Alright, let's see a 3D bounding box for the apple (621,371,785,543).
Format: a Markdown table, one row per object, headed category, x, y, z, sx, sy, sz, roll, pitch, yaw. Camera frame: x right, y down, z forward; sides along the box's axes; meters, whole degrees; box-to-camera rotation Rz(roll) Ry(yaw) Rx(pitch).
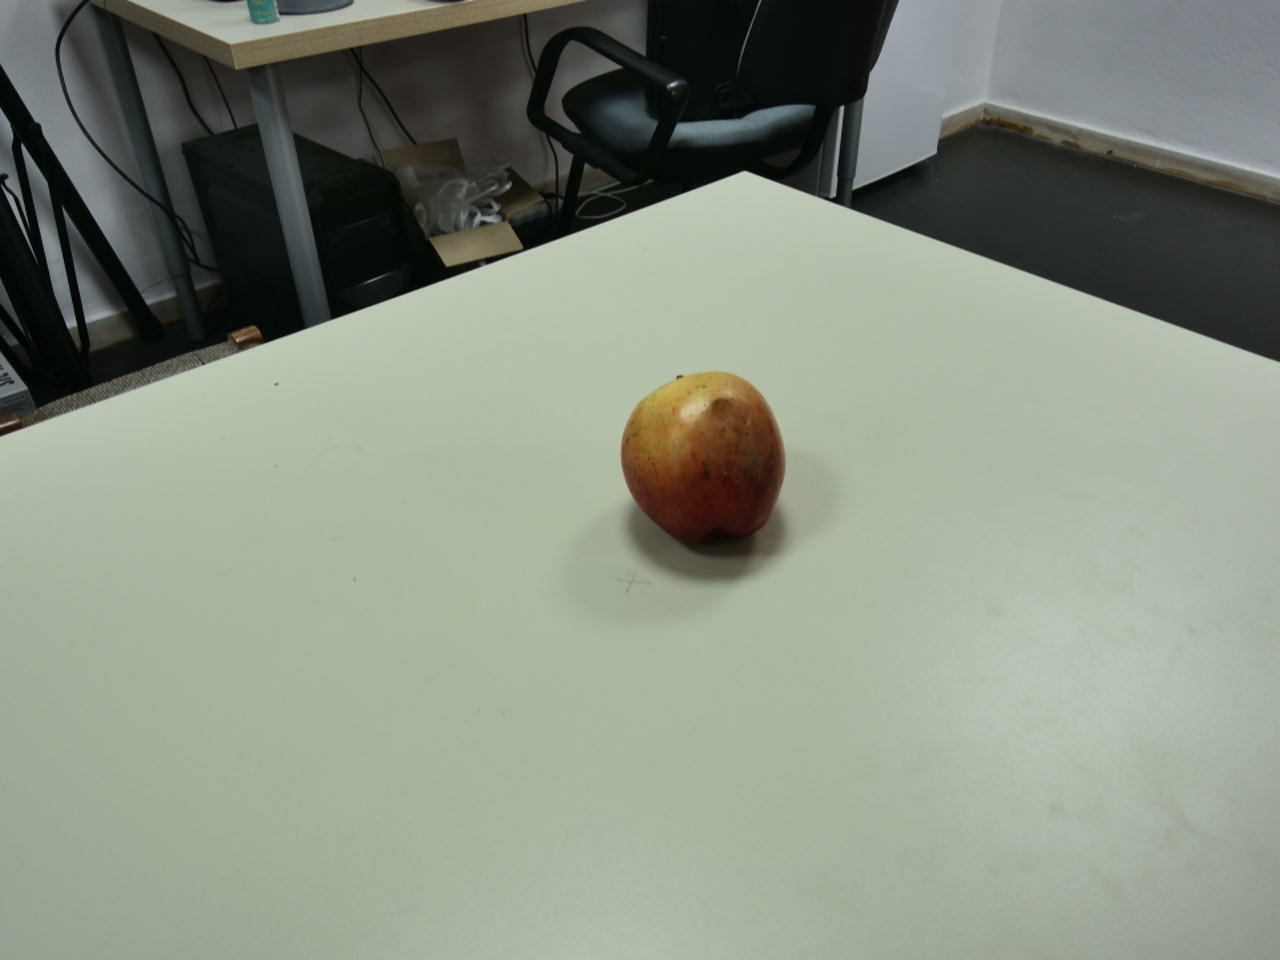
| category | x | y | z | sx | sy | sz | roll | pitch | yaw |
| --- | --- | --- | --- | --- | --- | --- | --- | --- | --- |
| apple | 0.033 | -0.014 | 0.522 | 0.086 | 0.084 | 0.093 | 7 | 37 | 12 |
